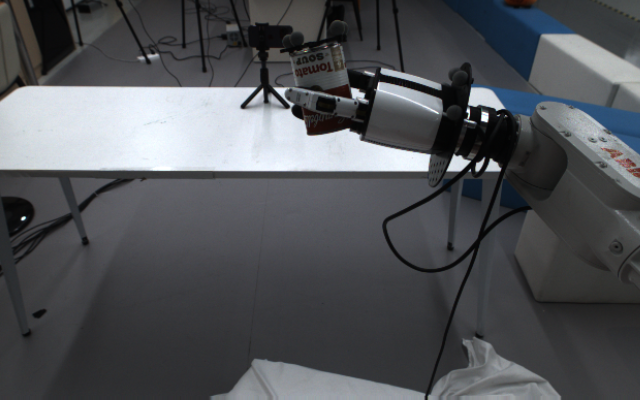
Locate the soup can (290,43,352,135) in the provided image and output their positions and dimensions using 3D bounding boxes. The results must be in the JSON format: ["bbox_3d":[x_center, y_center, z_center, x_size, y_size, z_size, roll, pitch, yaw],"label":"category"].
[{"bbox_3d":[0.006,-0.139,0.611,0.067,0.101,0.067,-12,17,4],"label":"soup can"}]
